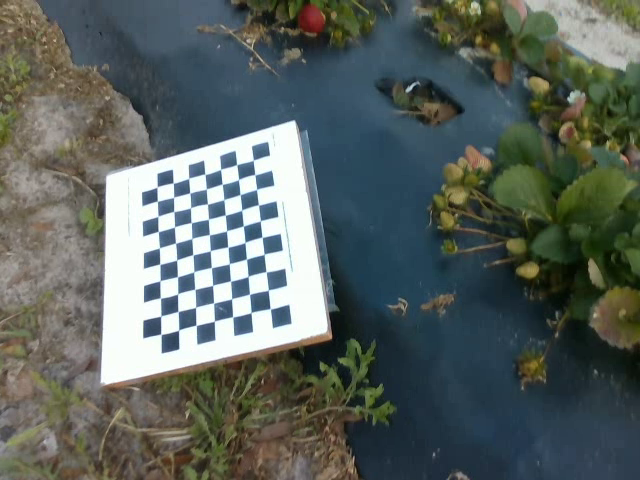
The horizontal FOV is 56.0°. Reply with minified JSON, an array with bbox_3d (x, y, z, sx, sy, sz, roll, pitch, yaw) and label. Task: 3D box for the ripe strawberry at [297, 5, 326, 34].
[{"bbox_3d":[-0.016,-0.347,0.936,0.043,0.047,0.046,-14,33,5],"label":"ripe strawberry"}]
